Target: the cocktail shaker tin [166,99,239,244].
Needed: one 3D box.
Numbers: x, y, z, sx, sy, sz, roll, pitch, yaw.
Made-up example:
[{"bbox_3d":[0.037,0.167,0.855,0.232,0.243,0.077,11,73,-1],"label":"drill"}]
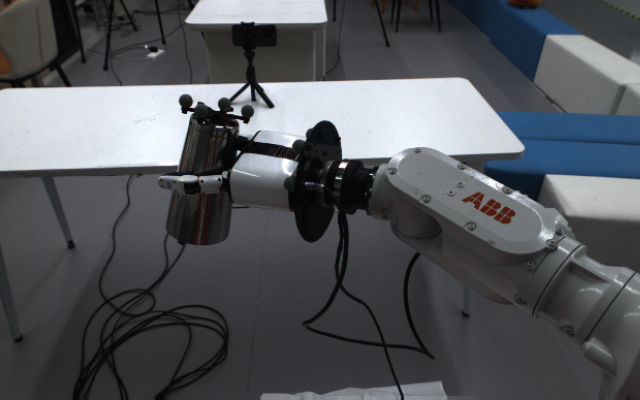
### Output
[{"bbox_3d":[-0.159,-0.034,0.679,0.093,0.170,0.093,12,24,-5],"label":"cocktail shaker tin"}]
